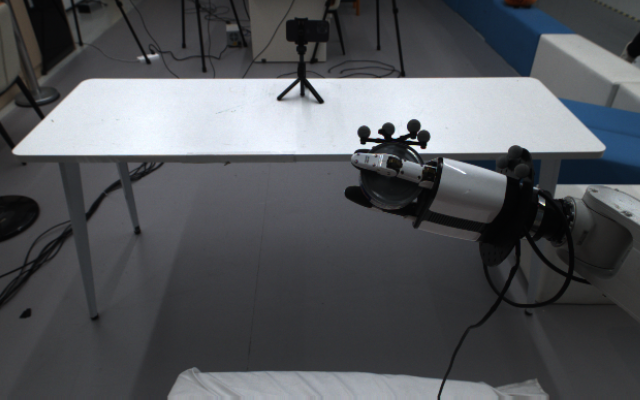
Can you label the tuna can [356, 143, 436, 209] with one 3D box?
[{"bbox_3d":[0.096,-0.028,0.630,0.085,0.034,0.085,0,74,0],"label":"tuna can"}]
